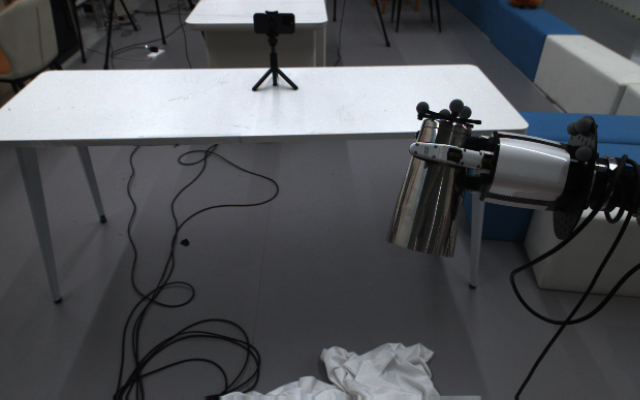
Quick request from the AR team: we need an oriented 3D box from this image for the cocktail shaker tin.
[{"bbox_3d":[0.154,-0.021,0.655,0.093,0.170,0.093,13,3,-1],"label":"cocktail shaker tin"}]
